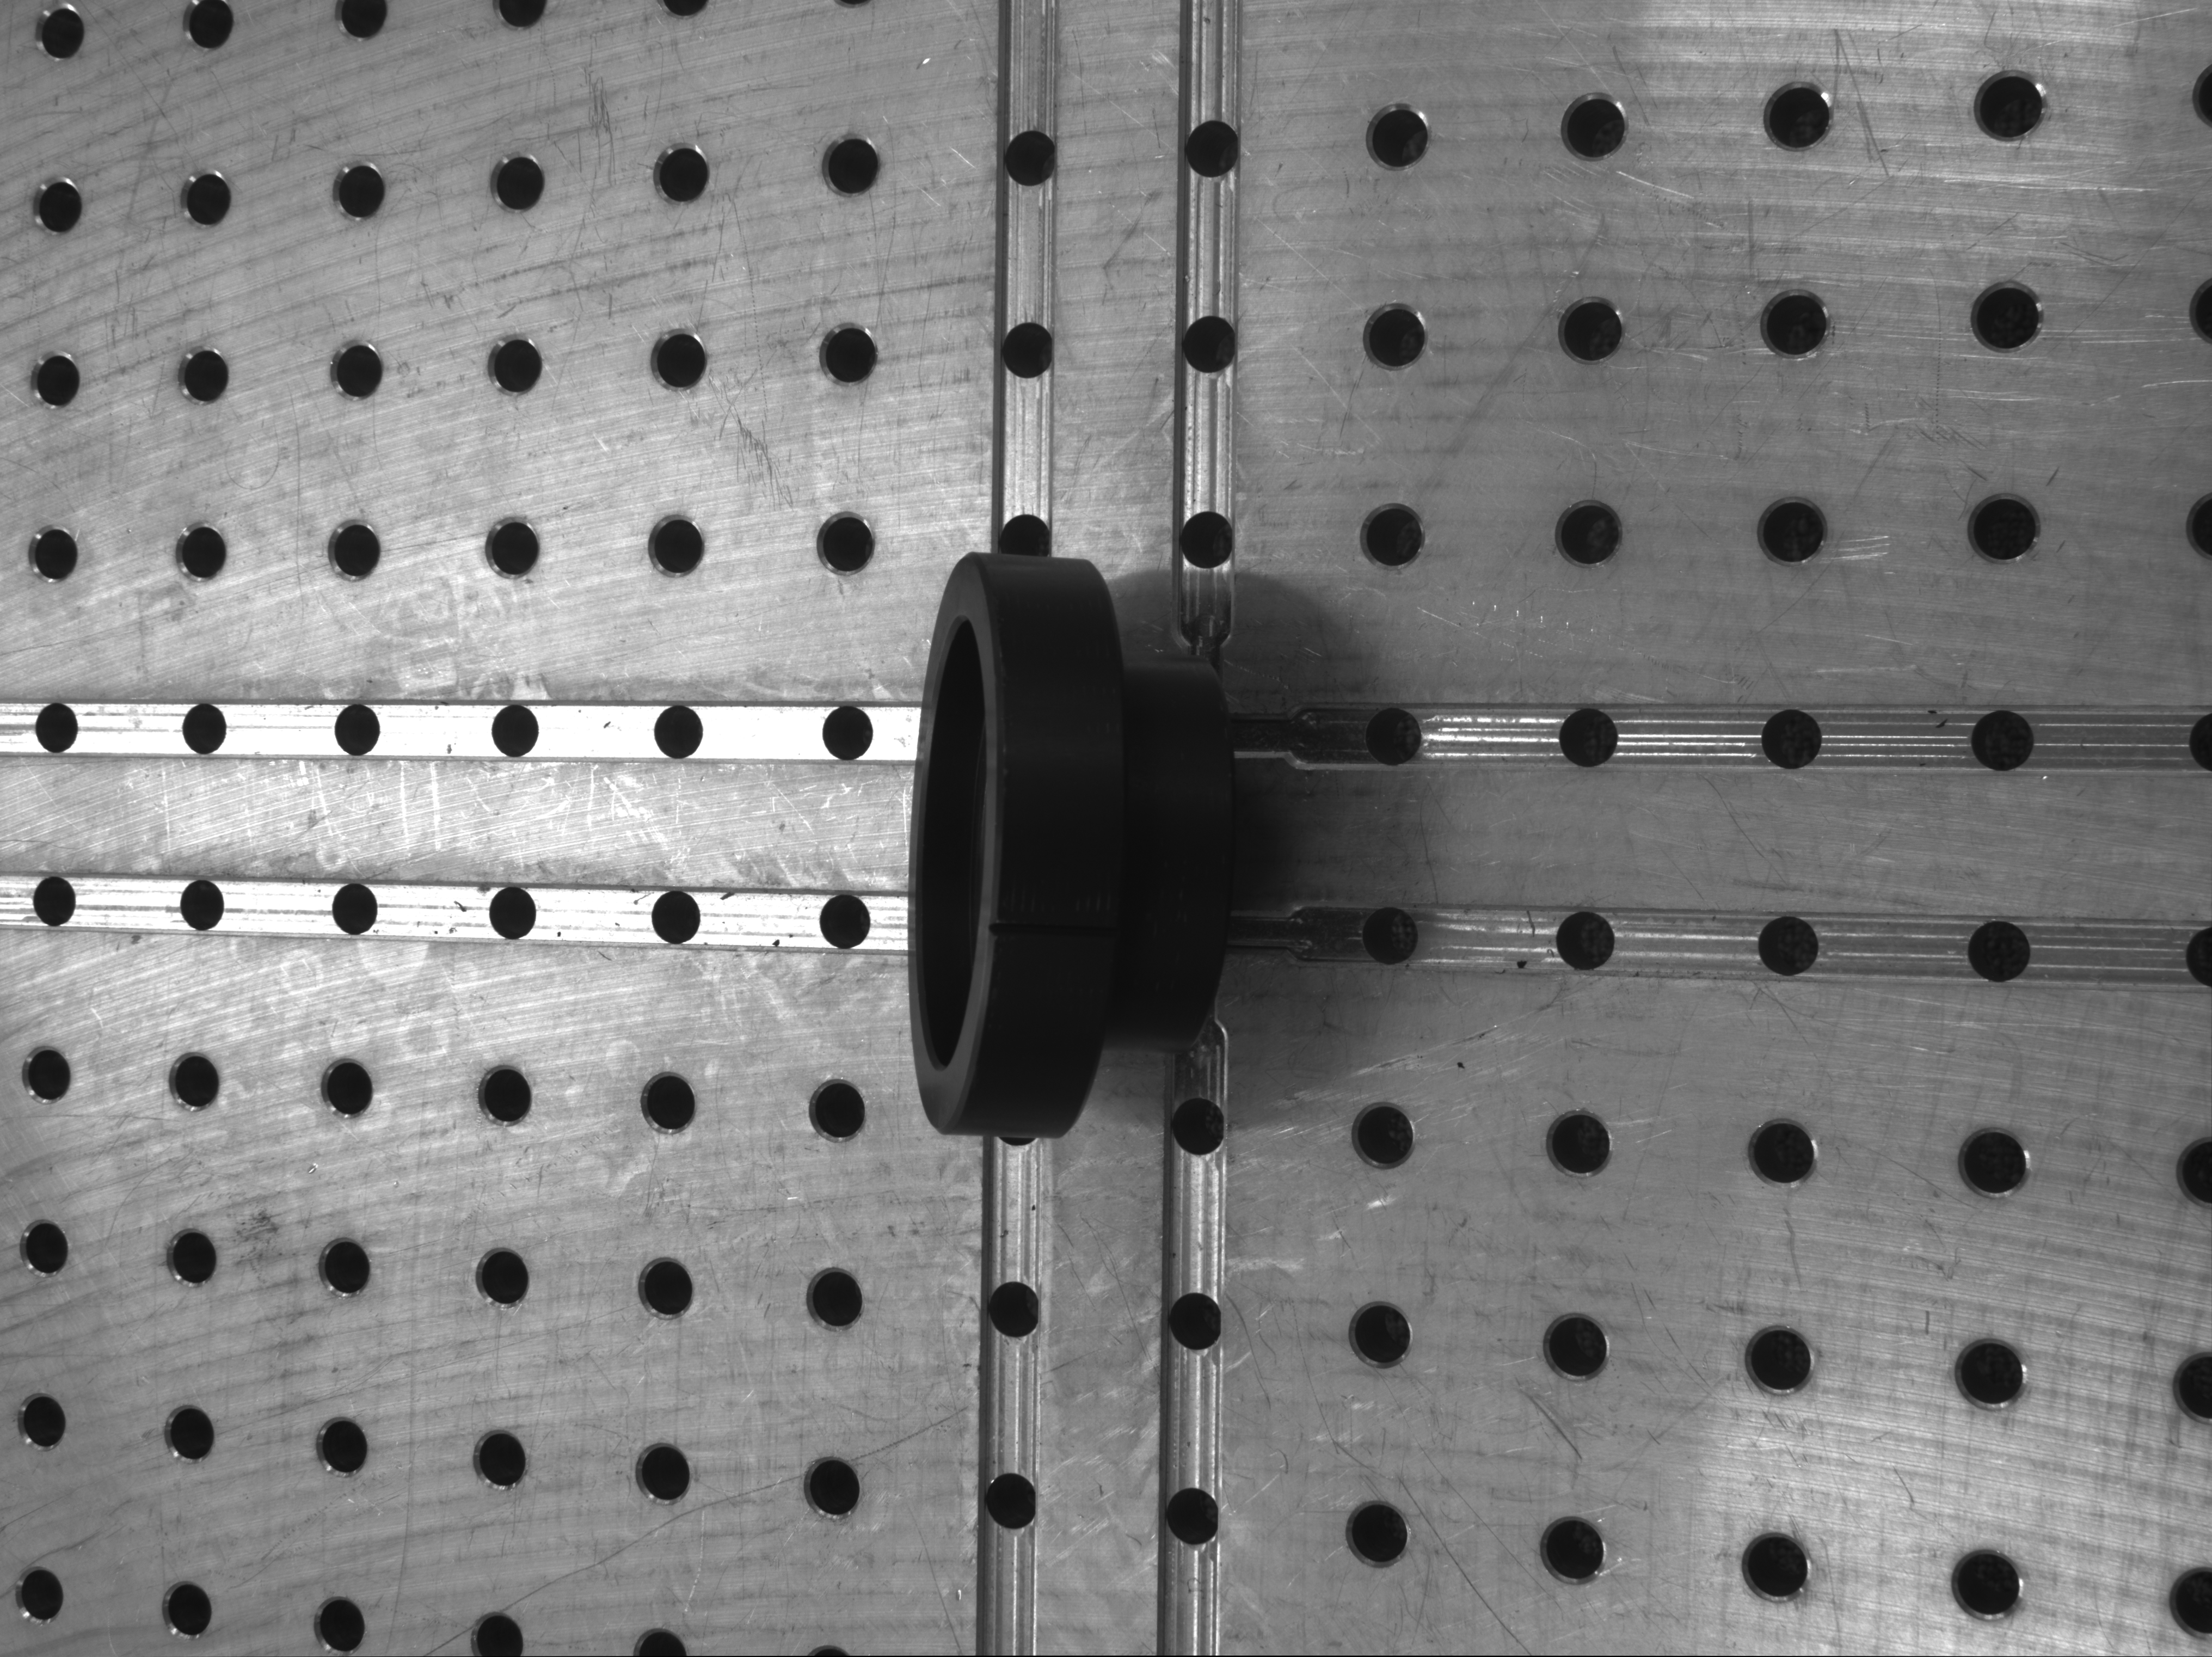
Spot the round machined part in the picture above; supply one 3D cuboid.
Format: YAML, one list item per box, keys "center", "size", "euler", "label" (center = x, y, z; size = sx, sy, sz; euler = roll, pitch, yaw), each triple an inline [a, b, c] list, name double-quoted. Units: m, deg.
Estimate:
- center: [-0.006, 0.004, 0.623]
  size: [0.042, 0.098, 0.098]
  euler: [3, 91, -11]
  label: "round machined part"
